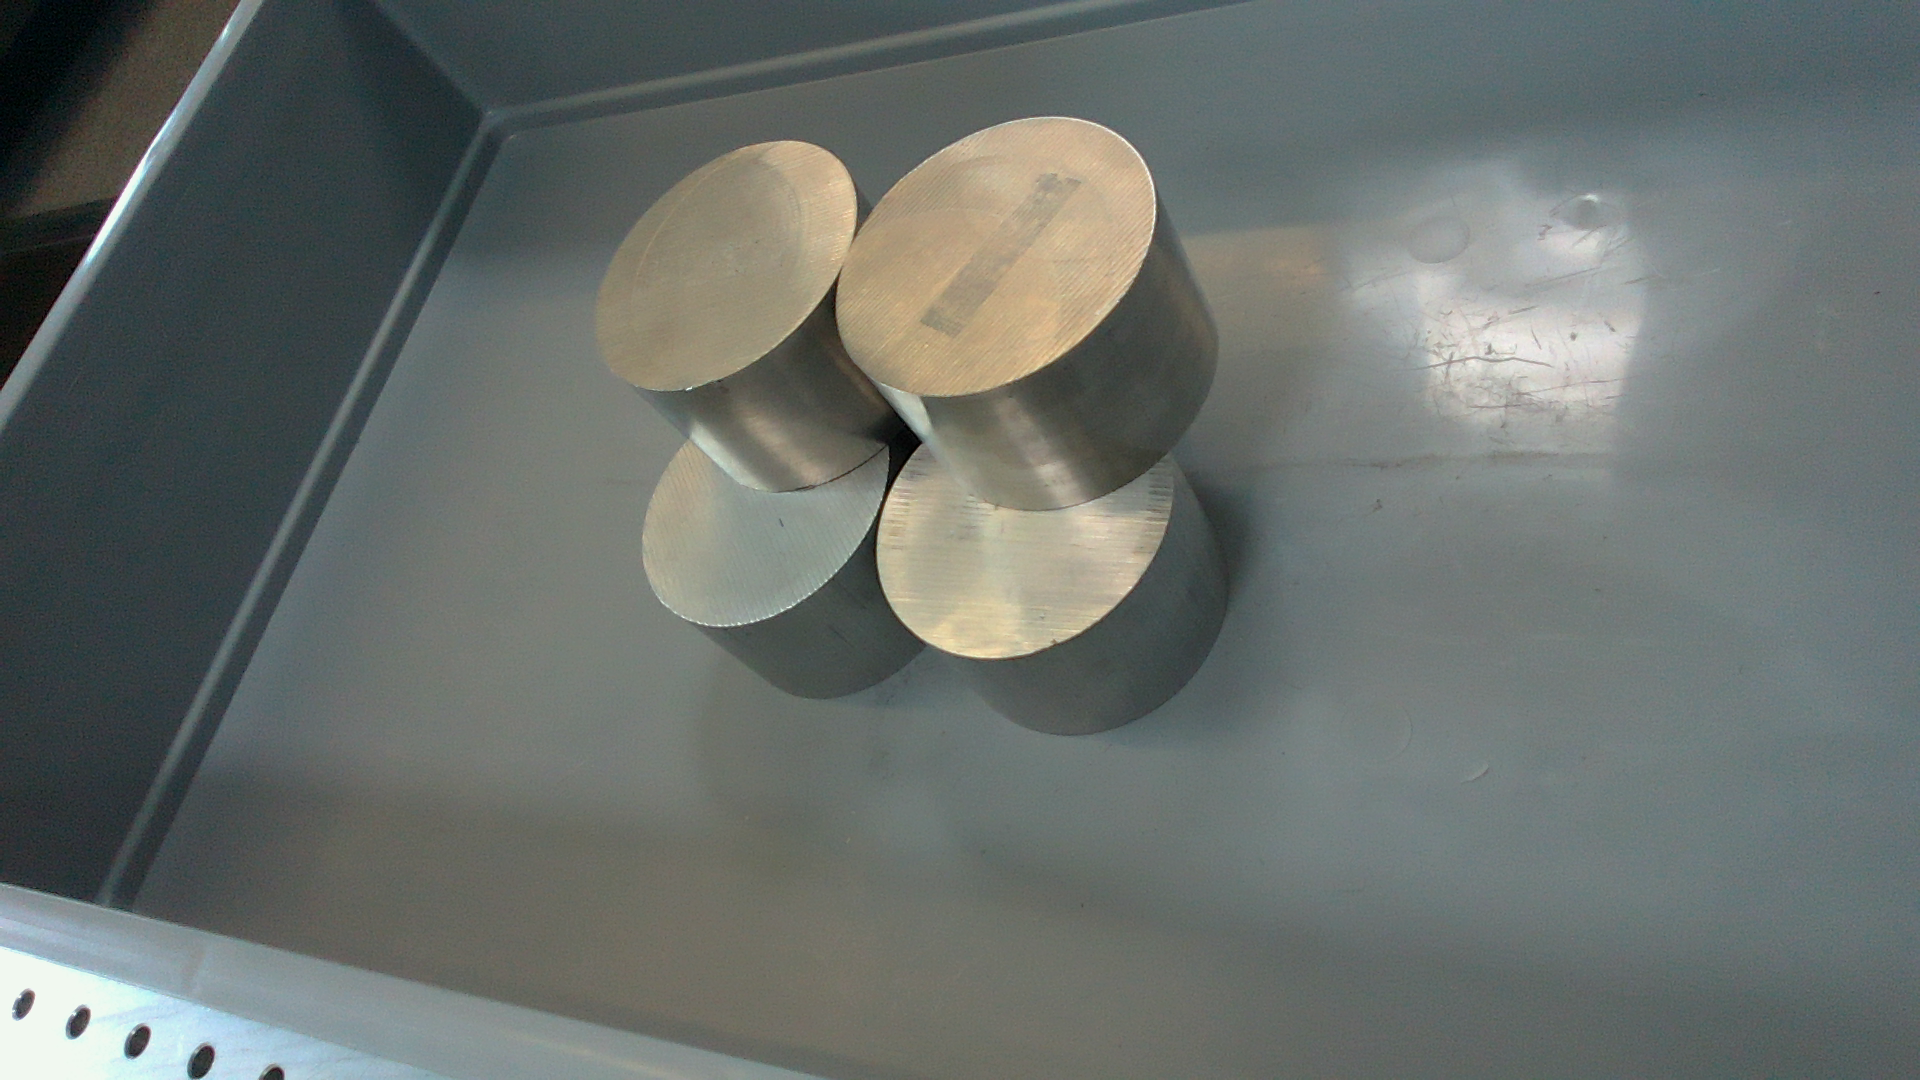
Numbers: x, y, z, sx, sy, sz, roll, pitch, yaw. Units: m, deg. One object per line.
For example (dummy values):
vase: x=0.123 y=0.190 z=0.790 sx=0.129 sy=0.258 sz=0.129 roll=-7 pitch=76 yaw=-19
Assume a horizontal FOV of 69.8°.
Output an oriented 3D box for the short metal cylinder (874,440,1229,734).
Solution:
short metal cylinder: x=0.025 y=0.004 z=0.360 sx=0.080 sy=0.050 sz=0.080 roll=-13 pitch=56 yaw=21

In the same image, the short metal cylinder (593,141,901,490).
short metal cylinder: x=-0.052 y=-0.061 z=0.377 sx=0.080 sy=0.050 sz=0.080 roll=-13 pitch=56 yaw=21

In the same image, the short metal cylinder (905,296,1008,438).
short metal cylinder: x=0.009 y=-0.059 z=0.408 sx=0.080 sy=0.050 sz=0.080 roll=-13 pitch=56 yaw=21

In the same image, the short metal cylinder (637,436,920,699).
short metal cylinder: x=-0.046 y=-0.001 z=0.401 sx=0.080 sy=0.050 sz=0.080 roll=-13 pitch=56 yaw=21

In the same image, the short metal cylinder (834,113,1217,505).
short metal cylinder: x=0.017 y=-0.056 z=0.335 sx=0.080 sy=0.050 sz=0.080 roll=-13 pitch=56 yaw=21
